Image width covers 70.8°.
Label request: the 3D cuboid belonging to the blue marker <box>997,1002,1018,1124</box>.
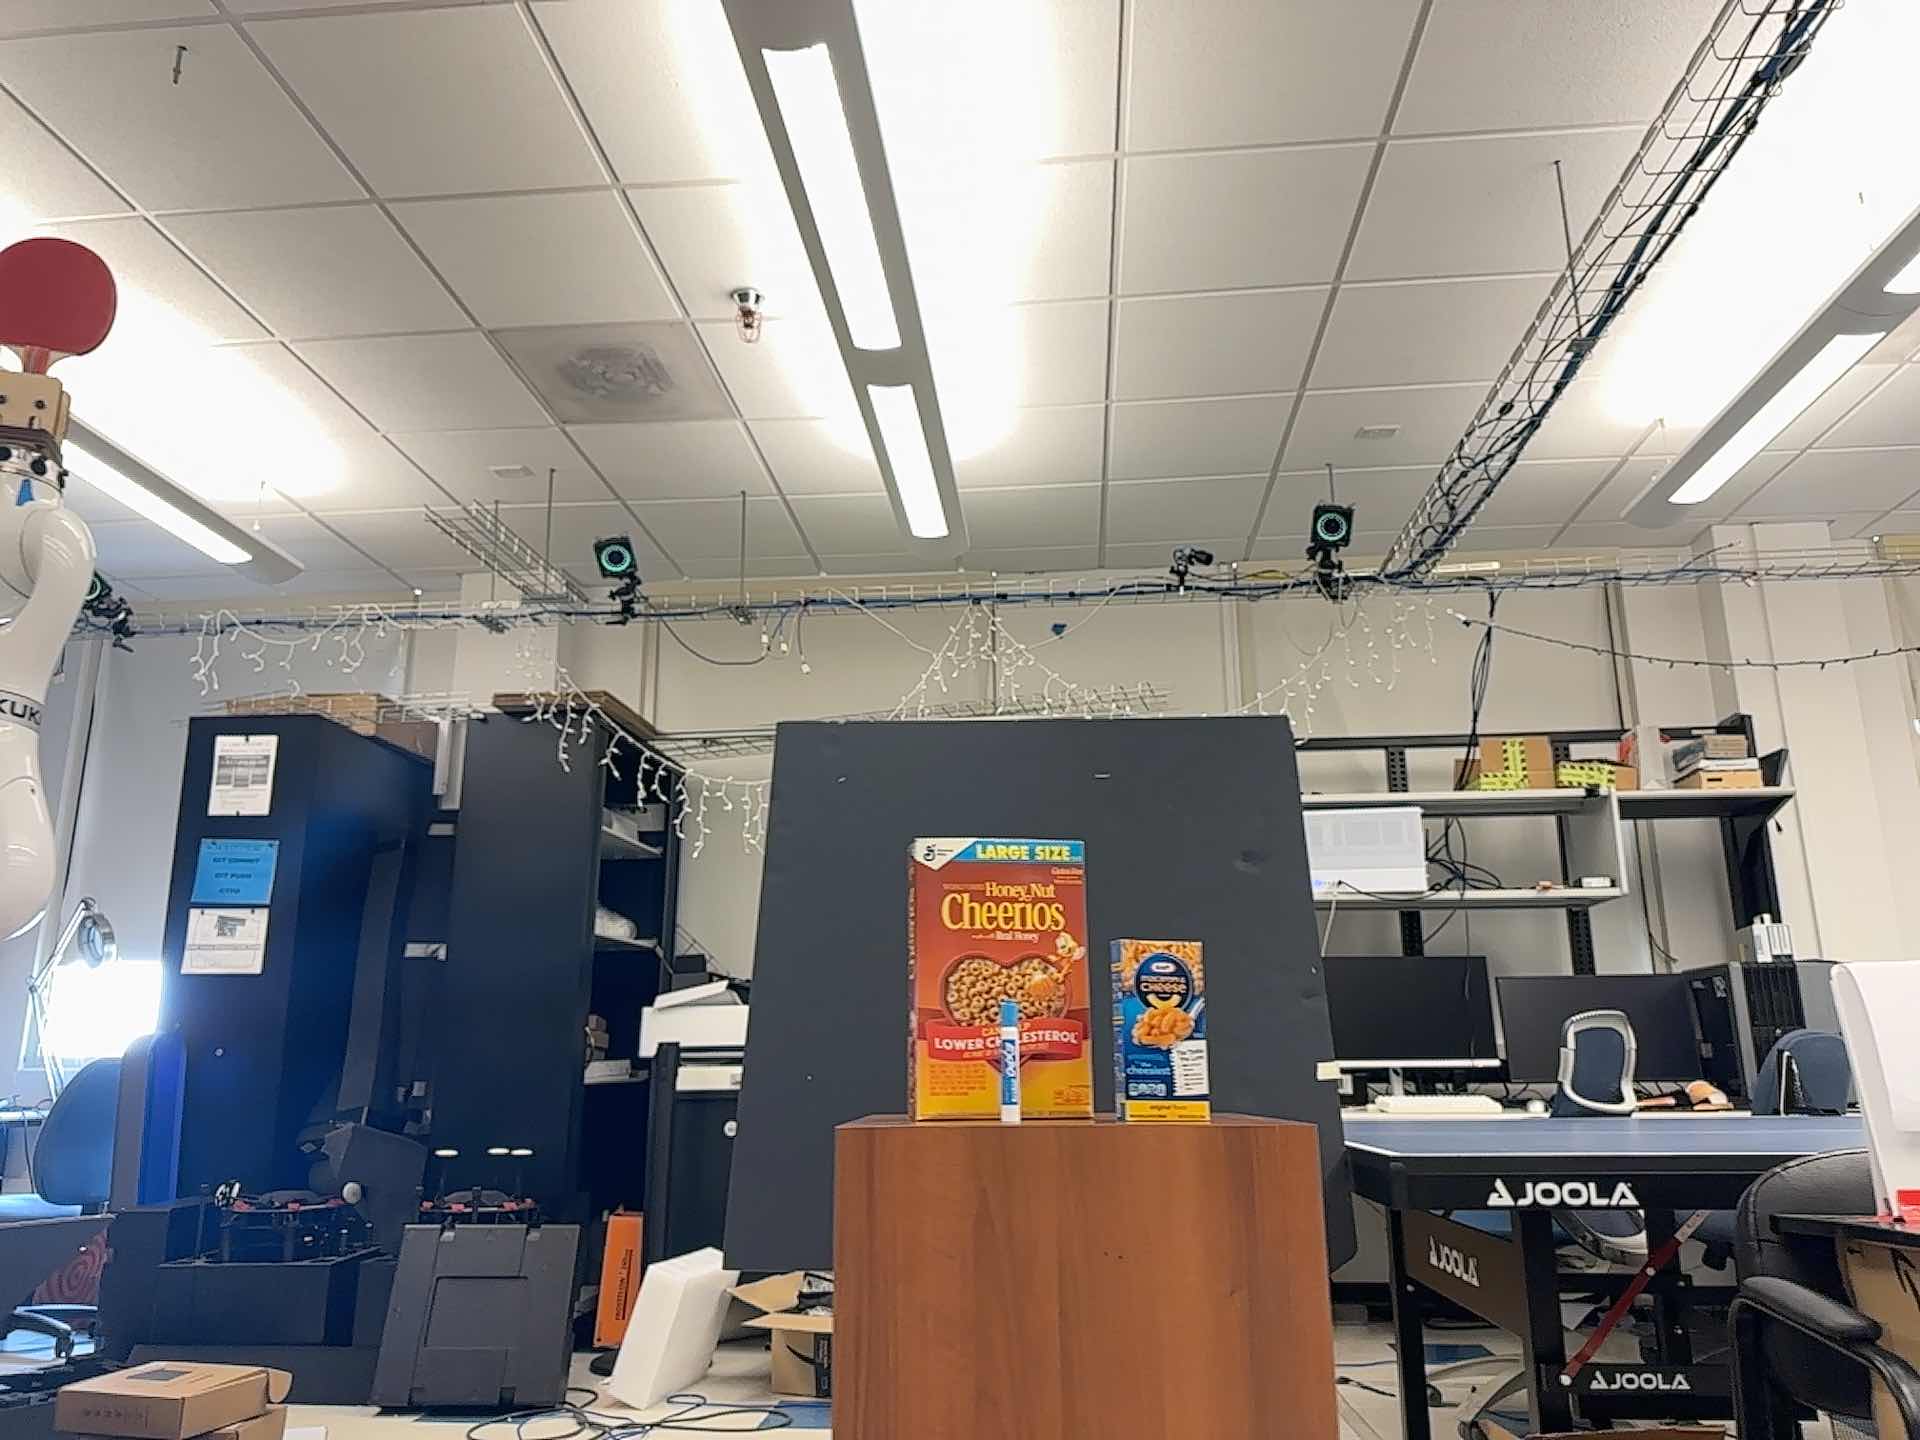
[{"bbox_3d":[0.048,0.353,1.394,0.020,0.121,0.020,0,-13,0],"label":"blue marker"}]

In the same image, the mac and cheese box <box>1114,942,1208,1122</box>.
[{"bbox_3d":[0.212,0.330,1.433,0.088,0.181,0.035,1,-15,-1],"label":"mac and cheese box"}]

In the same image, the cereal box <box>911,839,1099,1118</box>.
[{"bbox_3d":[0.048,0.286,1.514,0.195,0.297,0.065,2,-15,-7],"label":"cereal box"}]
